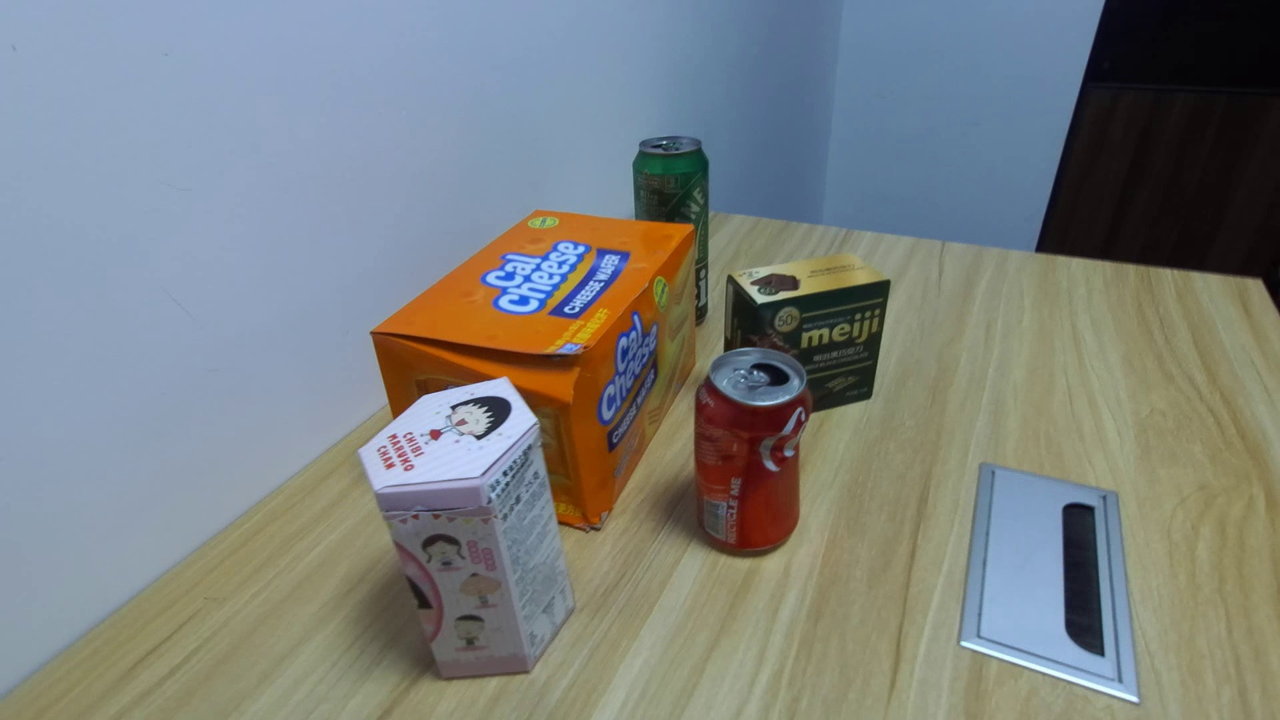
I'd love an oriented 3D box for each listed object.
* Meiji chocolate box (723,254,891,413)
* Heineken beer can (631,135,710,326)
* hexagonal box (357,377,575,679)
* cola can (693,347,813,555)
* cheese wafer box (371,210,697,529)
[{"bbox_3d":[0.123,-0.015,0.538,0.110,0.109,0.056,-11,33,-14],"label":"Meiji chocolate box"},{"bbox_3d":[0.030,-0.111,0.642,0.067,0.169,0.067,-3,30,2],"label":"Heineken beer can"},{"bbox_3d":[-0.084,0.088,0.366,0.085,0.135,0.091,-20,36,-24],"label":"hexagonal box"},{"bbox_3d":[0.066,0.054,0.421,0.066,0.117,0.066,3,35,10],"label":"cola can"},{"bbox_3d":[-0.058,-0.009,0.521,0.149,0.137,0.227,10,34,20],"label":"cheese wafer box"}]
